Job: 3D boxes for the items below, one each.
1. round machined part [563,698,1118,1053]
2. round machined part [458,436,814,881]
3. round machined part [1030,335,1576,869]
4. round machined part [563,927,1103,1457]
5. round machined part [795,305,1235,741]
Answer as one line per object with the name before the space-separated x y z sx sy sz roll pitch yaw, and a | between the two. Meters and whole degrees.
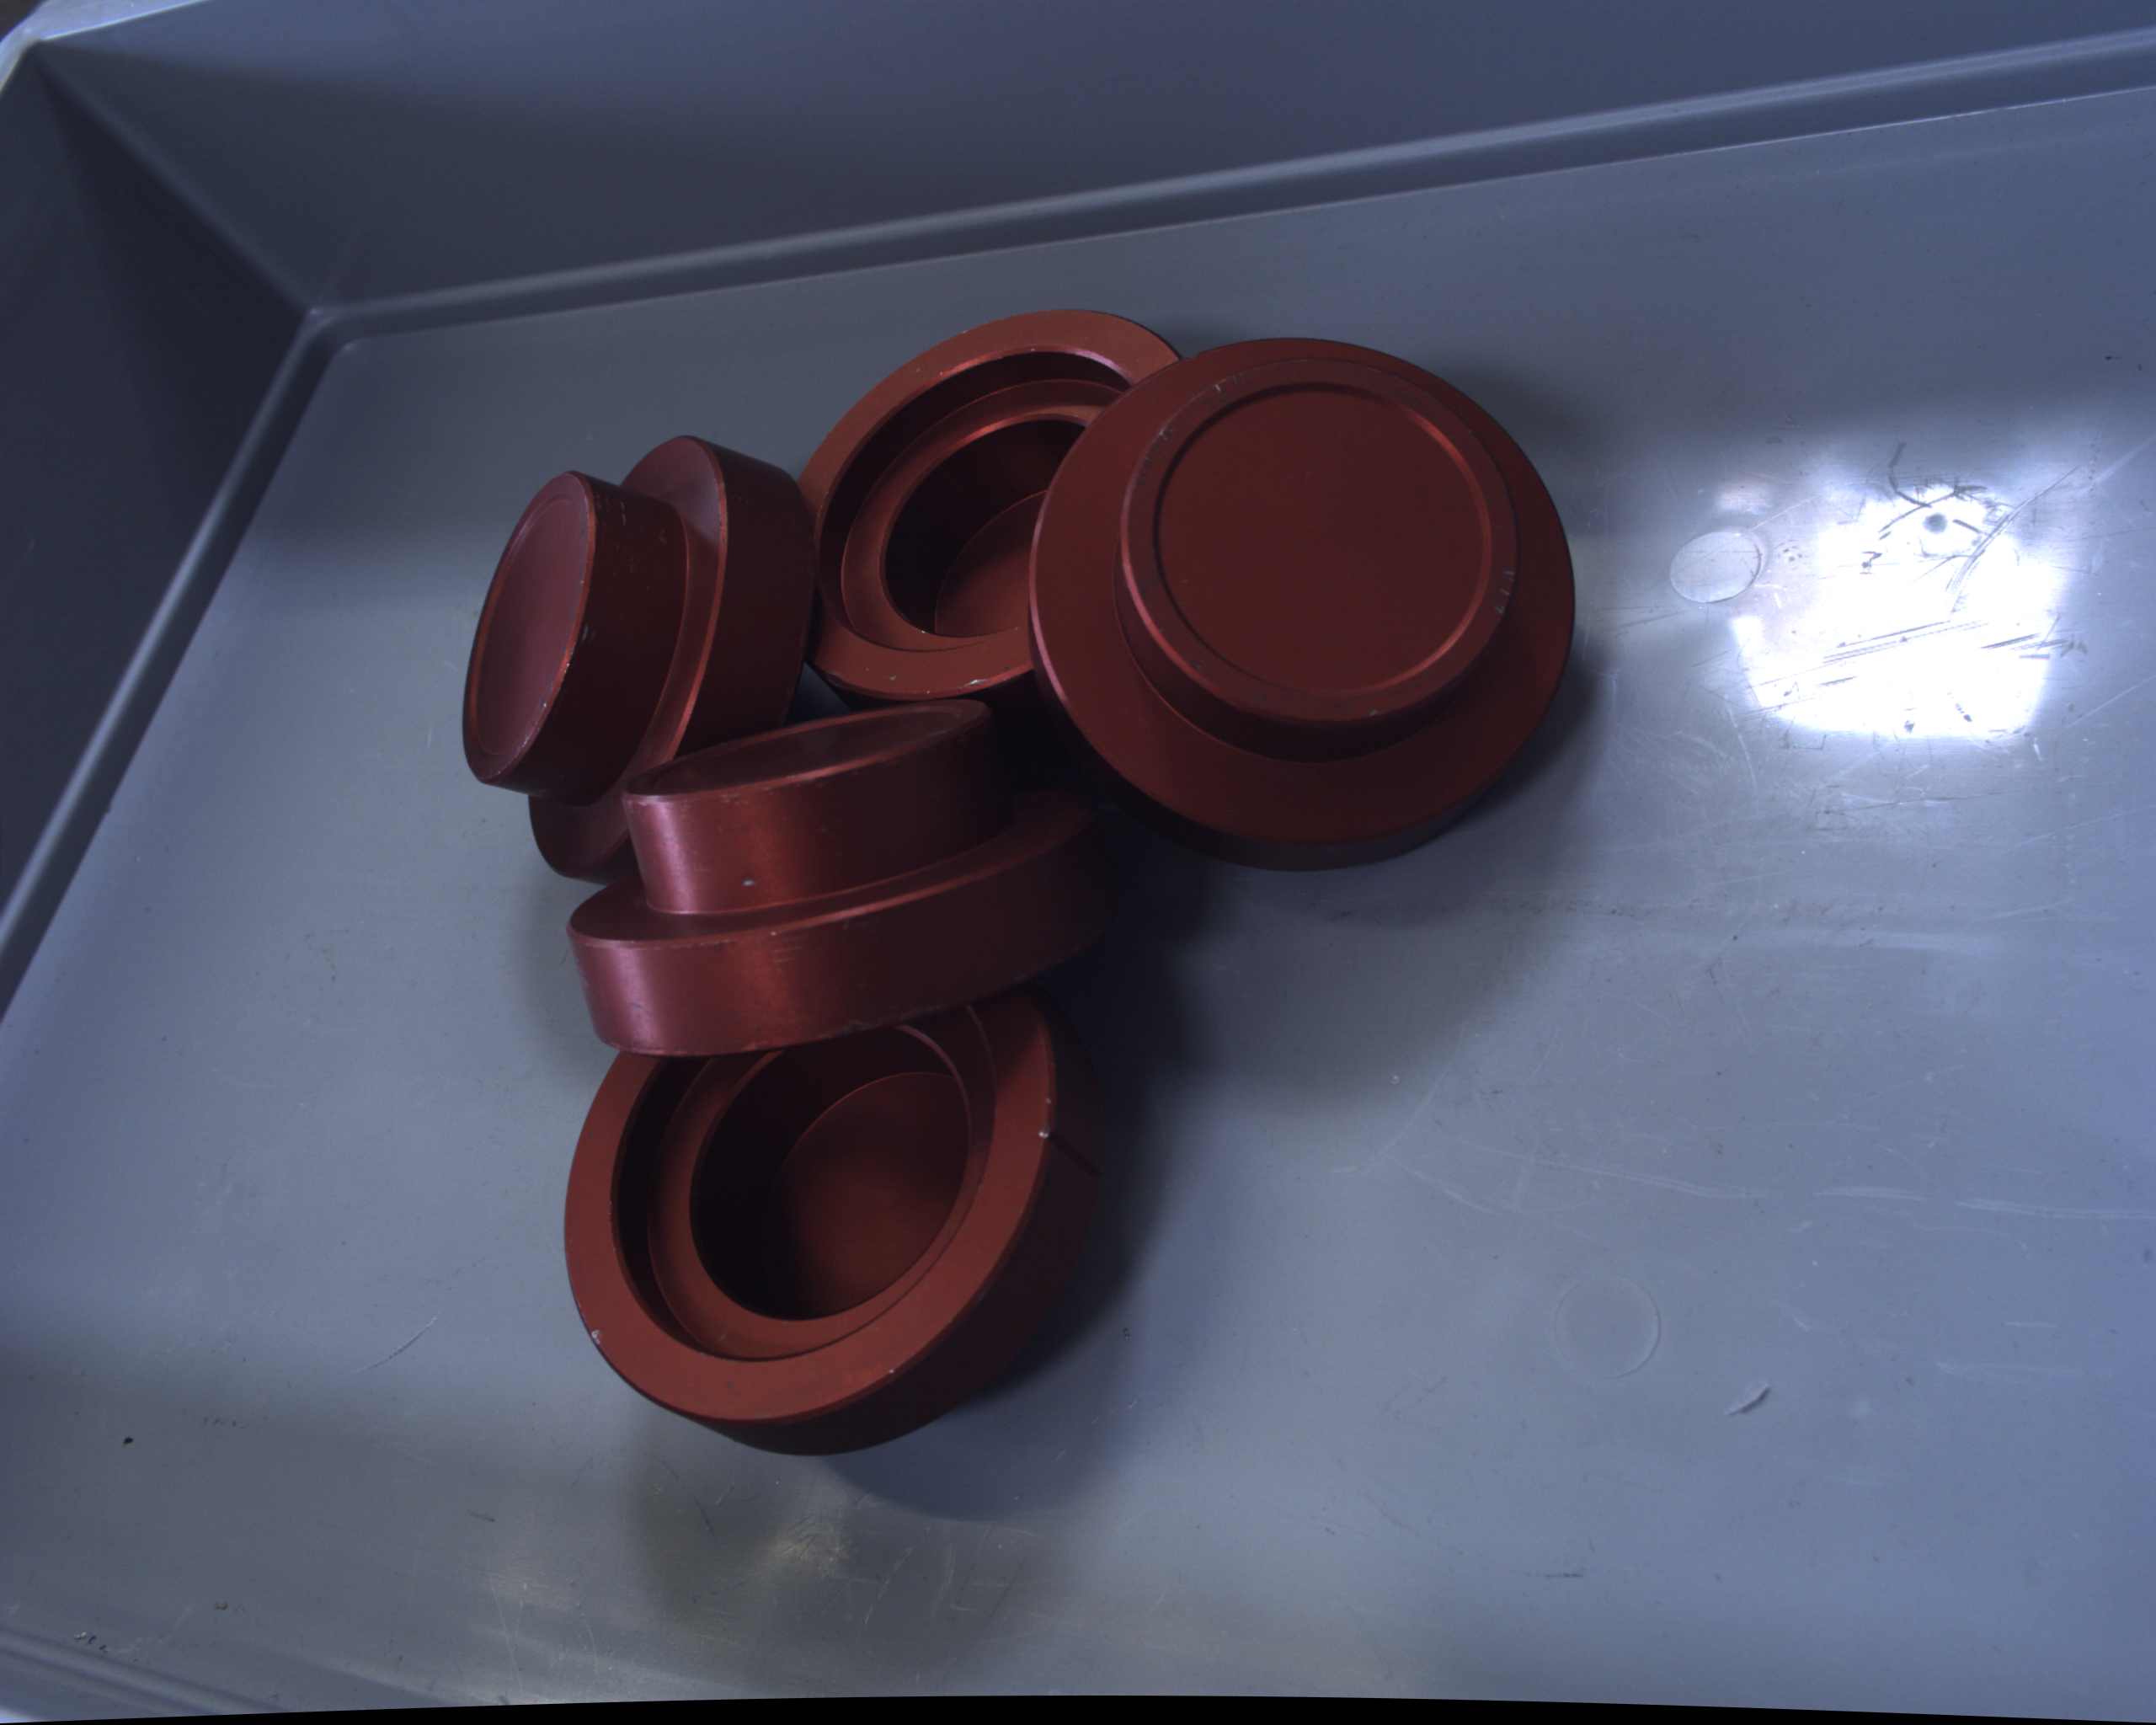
round machined part | -0.045 -0.002 0.381 0.098 0.098 0.042 -6 103 25
round machined part | -0.099 -0.045 0.444 0.098 0.042 0.098 -29 53 48
round machined part | 0.041 -0.051 0.374 0.099 0.042 0.098 1 76 -3
round machined part | -0.040 0.059 0.377 0.098 0.042 0.098 -13 56 21
round machined part | -0.011 -0.066 0.438 0.098 0.042 0.098 -13 56 21
